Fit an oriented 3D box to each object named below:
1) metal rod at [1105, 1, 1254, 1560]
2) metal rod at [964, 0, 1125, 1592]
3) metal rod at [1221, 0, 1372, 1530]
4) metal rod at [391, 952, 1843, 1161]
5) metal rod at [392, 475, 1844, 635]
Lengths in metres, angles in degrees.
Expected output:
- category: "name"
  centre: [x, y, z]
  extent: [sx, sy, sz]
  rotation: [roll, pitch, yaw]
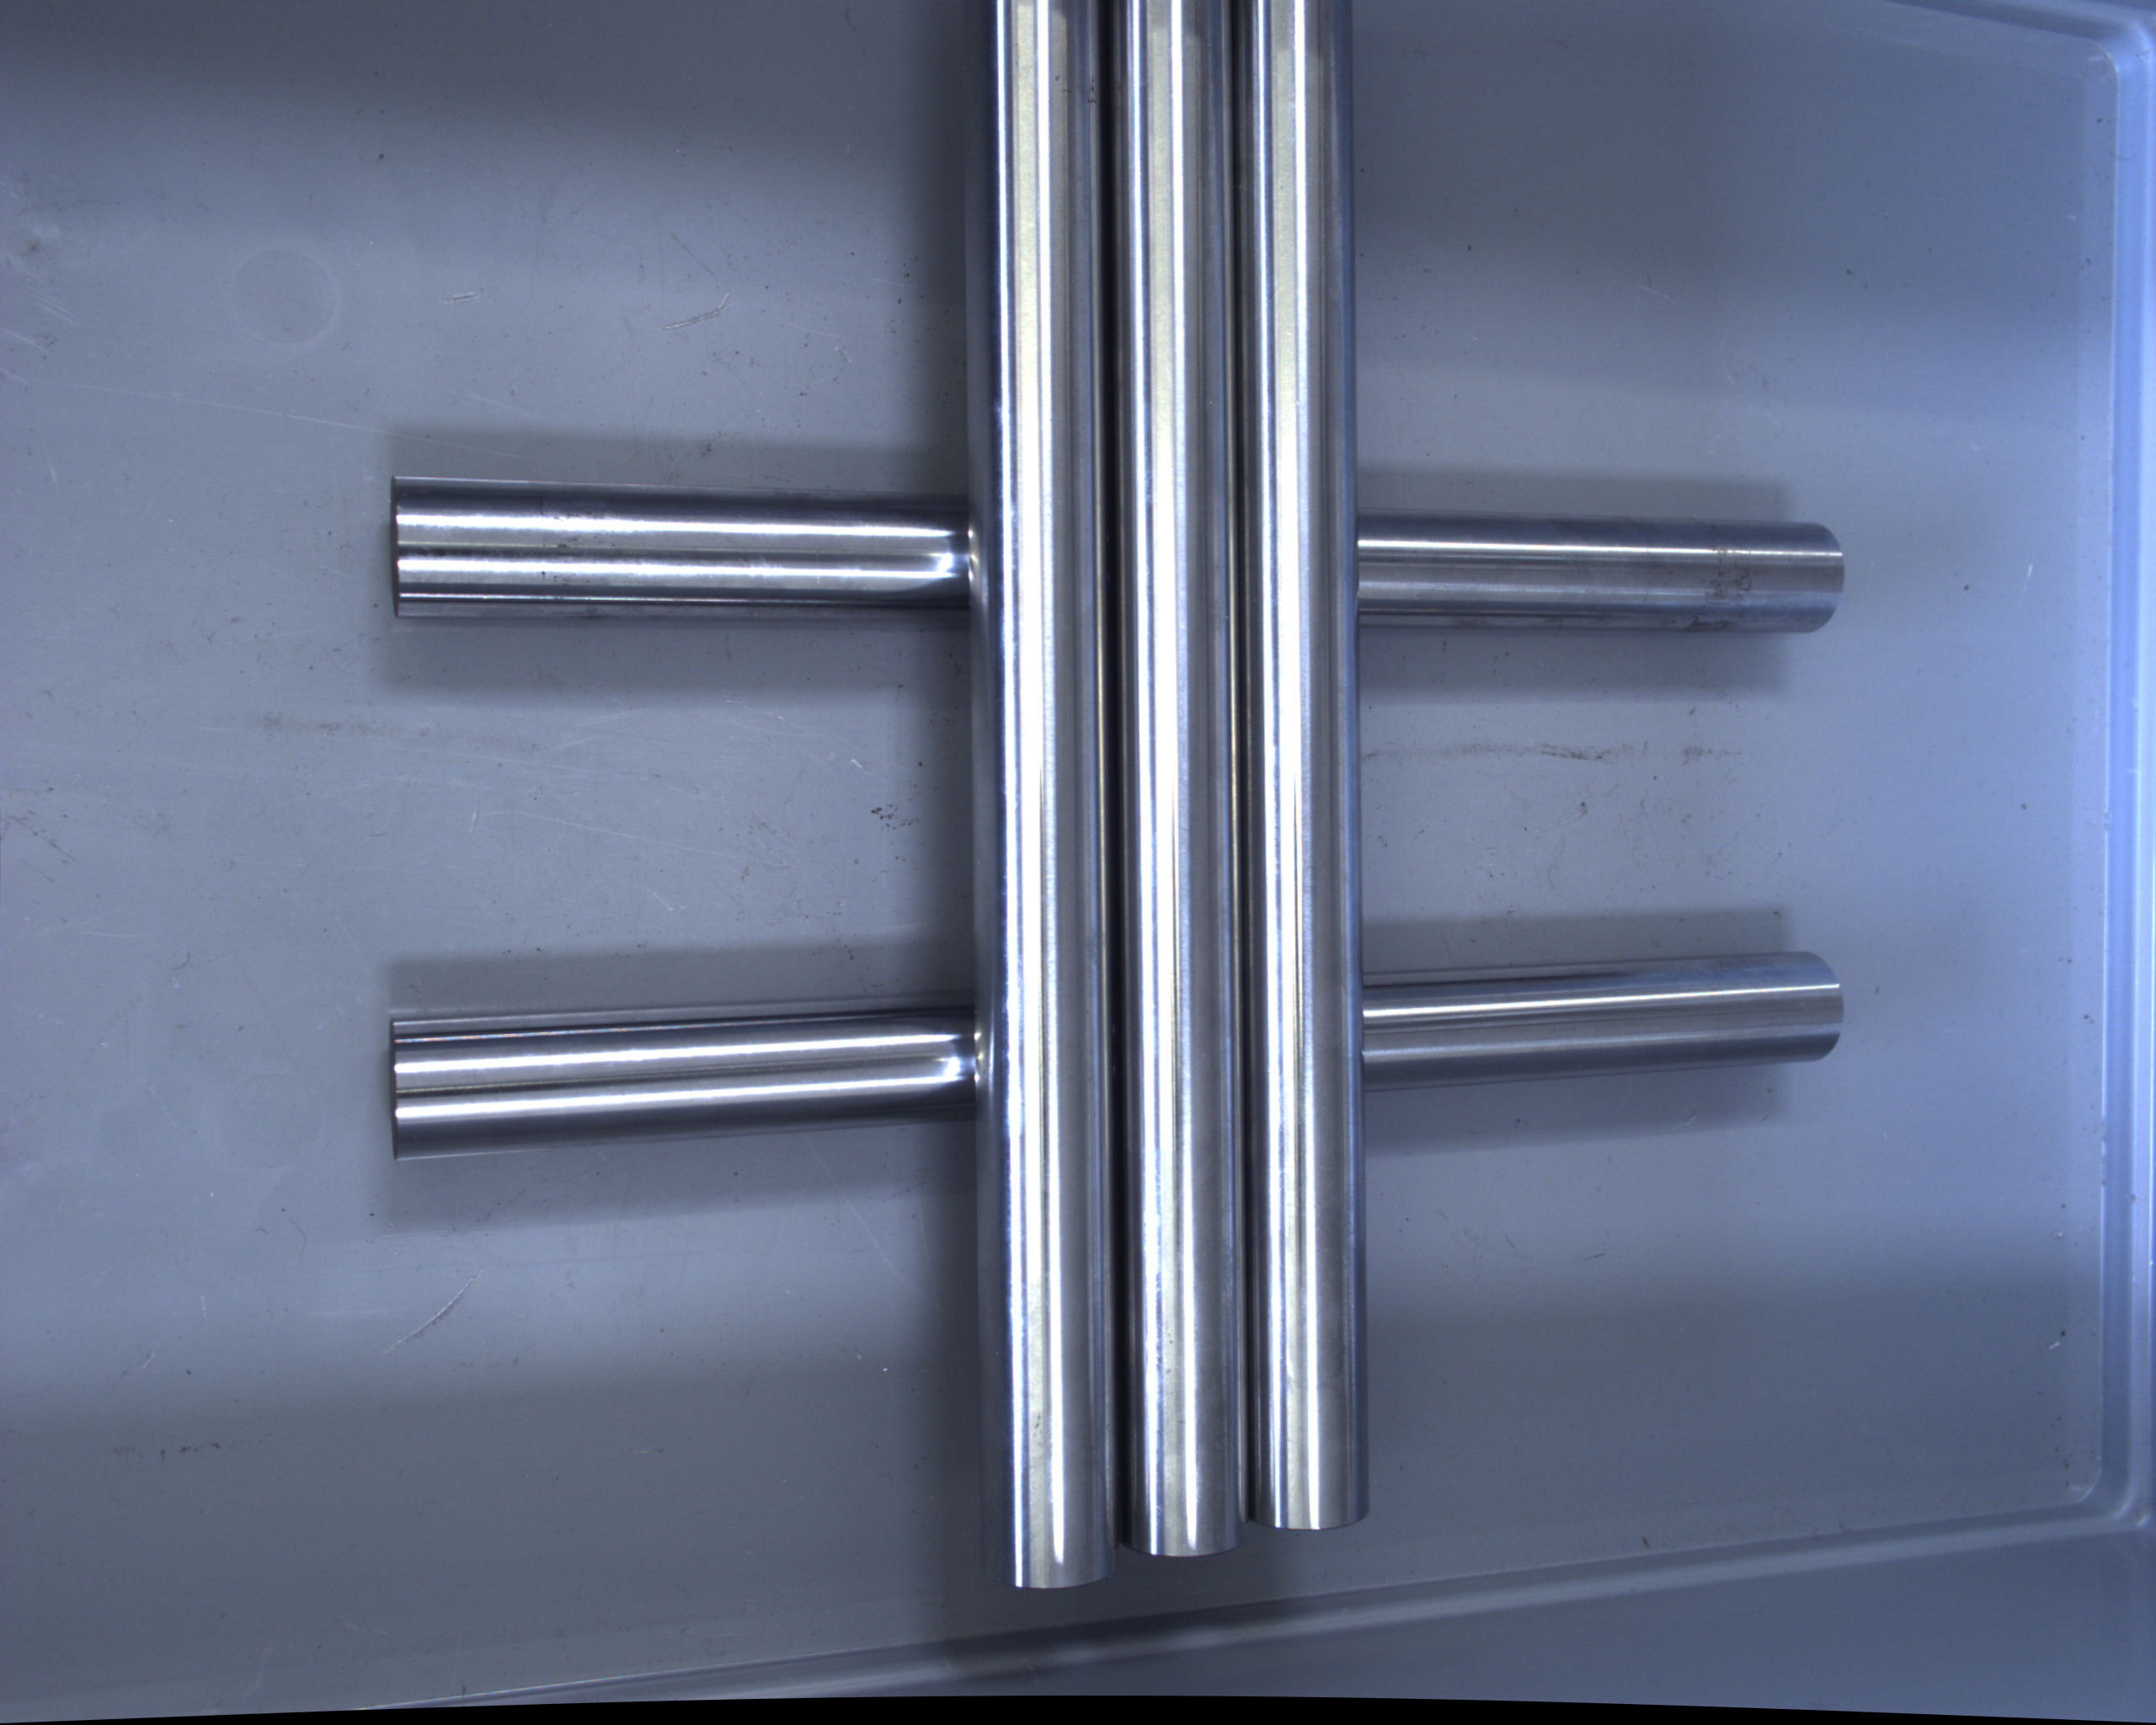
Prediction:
- category: "metal rod"
  centre: [0.018, -0.023, 0.388]
  extent: [0.025, 0.025, 0.298]
  rotation: [-1, 90, -20]
- category: "metal rod"
  centre: [-0.006, -0.021, 0.379]
  extent: [0.025, 0.025, 0.298]
  rotation: [-1, 90, -20]
- category: "metal rod"
  centre: [0.041, -0.026, 0.397]
  extent: [0.025, 0.025, 0.298]
  rotation: [-1, 90, -20]
- category: "metal rod"
  centre: [0.022, 0.036, 0.417]
  extent: [0.303, 0.025, 0.025]
  rotation: [-1, 91, -20]
- category: "metal rod"
  centre: [0.022, -0.059, 0.417]
  extent: [0.303, 0.025, 0.025]
  rotation: [-2, 91, -20]
